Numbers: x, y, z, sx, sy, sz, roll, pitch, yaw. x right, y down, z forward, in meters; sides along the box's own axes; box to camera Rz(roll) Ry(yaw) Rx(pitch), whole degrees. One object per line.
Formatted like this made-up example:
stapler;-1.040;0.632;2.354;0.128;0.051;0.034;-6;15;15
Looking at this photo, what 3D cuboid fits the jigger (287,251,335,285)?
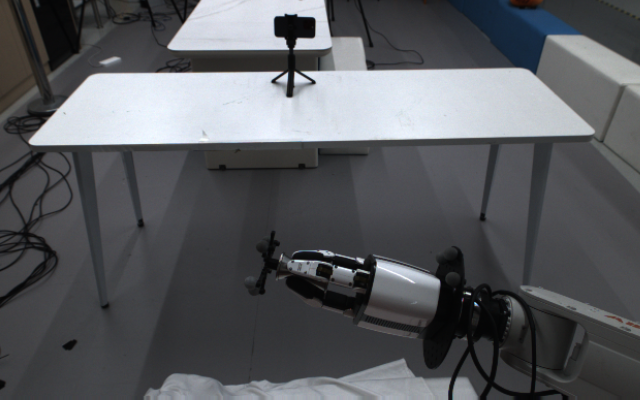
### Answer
jigger;-0.014;0.091;0.640;0.071;0.043;0.043;13;36;4
